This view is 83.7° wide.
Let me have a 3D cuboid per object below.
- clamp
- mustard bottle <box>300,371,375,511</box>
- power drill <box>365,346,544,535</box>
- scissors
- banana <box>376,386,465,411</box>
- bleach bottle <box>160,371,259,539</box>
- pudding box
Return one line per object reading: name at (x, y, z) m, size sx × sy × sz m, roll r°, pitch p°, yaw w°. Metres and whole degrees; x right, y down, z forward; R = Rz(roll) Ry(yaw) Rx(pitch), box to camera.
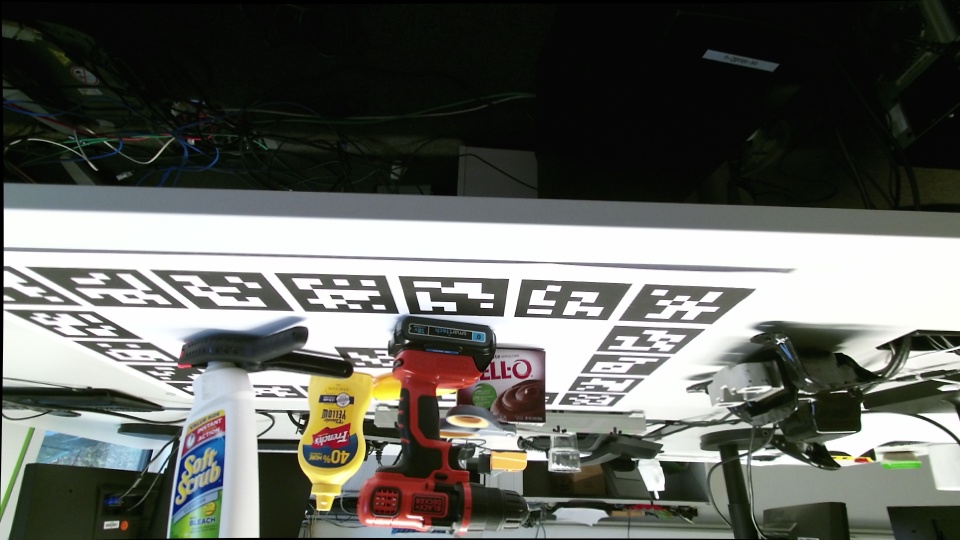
clamp at (-0.279, 0.123, 0.670) m, size 0.203 × 0.036 × 0.166 m, roll 0°, pitch 151°, yaw 6°
mustard bottle at (-0.210, 0.247, 0.783) m, size 0.096 × 0.190 × 0.058 m, roll 9°, pitch 152°, yaw -12°
power drill at (-0.023, 0.180, 0.572) m, size 0.185 × 0.186 × 0.057 m, roll 6°, pitch 160°, yaw -13°
scissors at (0.044, 0.213, 0.660) m, size 0.204 × 0.016 × 0.088 m, roll 18°, pitch 145°, yaw -20°
banana at (-0.100, 0.200, 0.826) m, size 0.198 × 0.038 × 0.074 m, roll -19°, pitch 163°, yaw 34°
bleach bottle at (-0.317, 0.221, 0.636) m, size 0.103 × 0.249 × 0.068 m, roll -13°, pitch 154°, yaw 13°
pudding box at (0.037, 0.153, 0.683) m, size 0.114 × 0.089 × 0.039 m, roll 4°, pitch 159°, yaw -4°
